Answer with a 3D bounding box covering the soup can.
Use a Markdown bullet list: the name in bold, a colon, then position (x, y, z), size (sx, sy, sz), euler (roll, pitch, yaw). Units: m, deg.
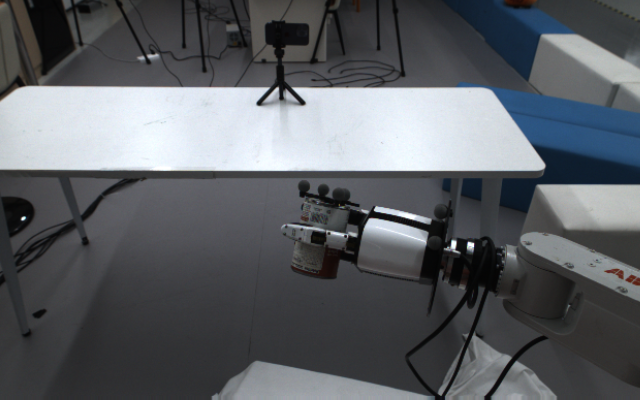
- **soup can**: position (0.002, 0.053, 0.679), size (0.067, 0.101, 0.067), euler (12, 2, 0)
